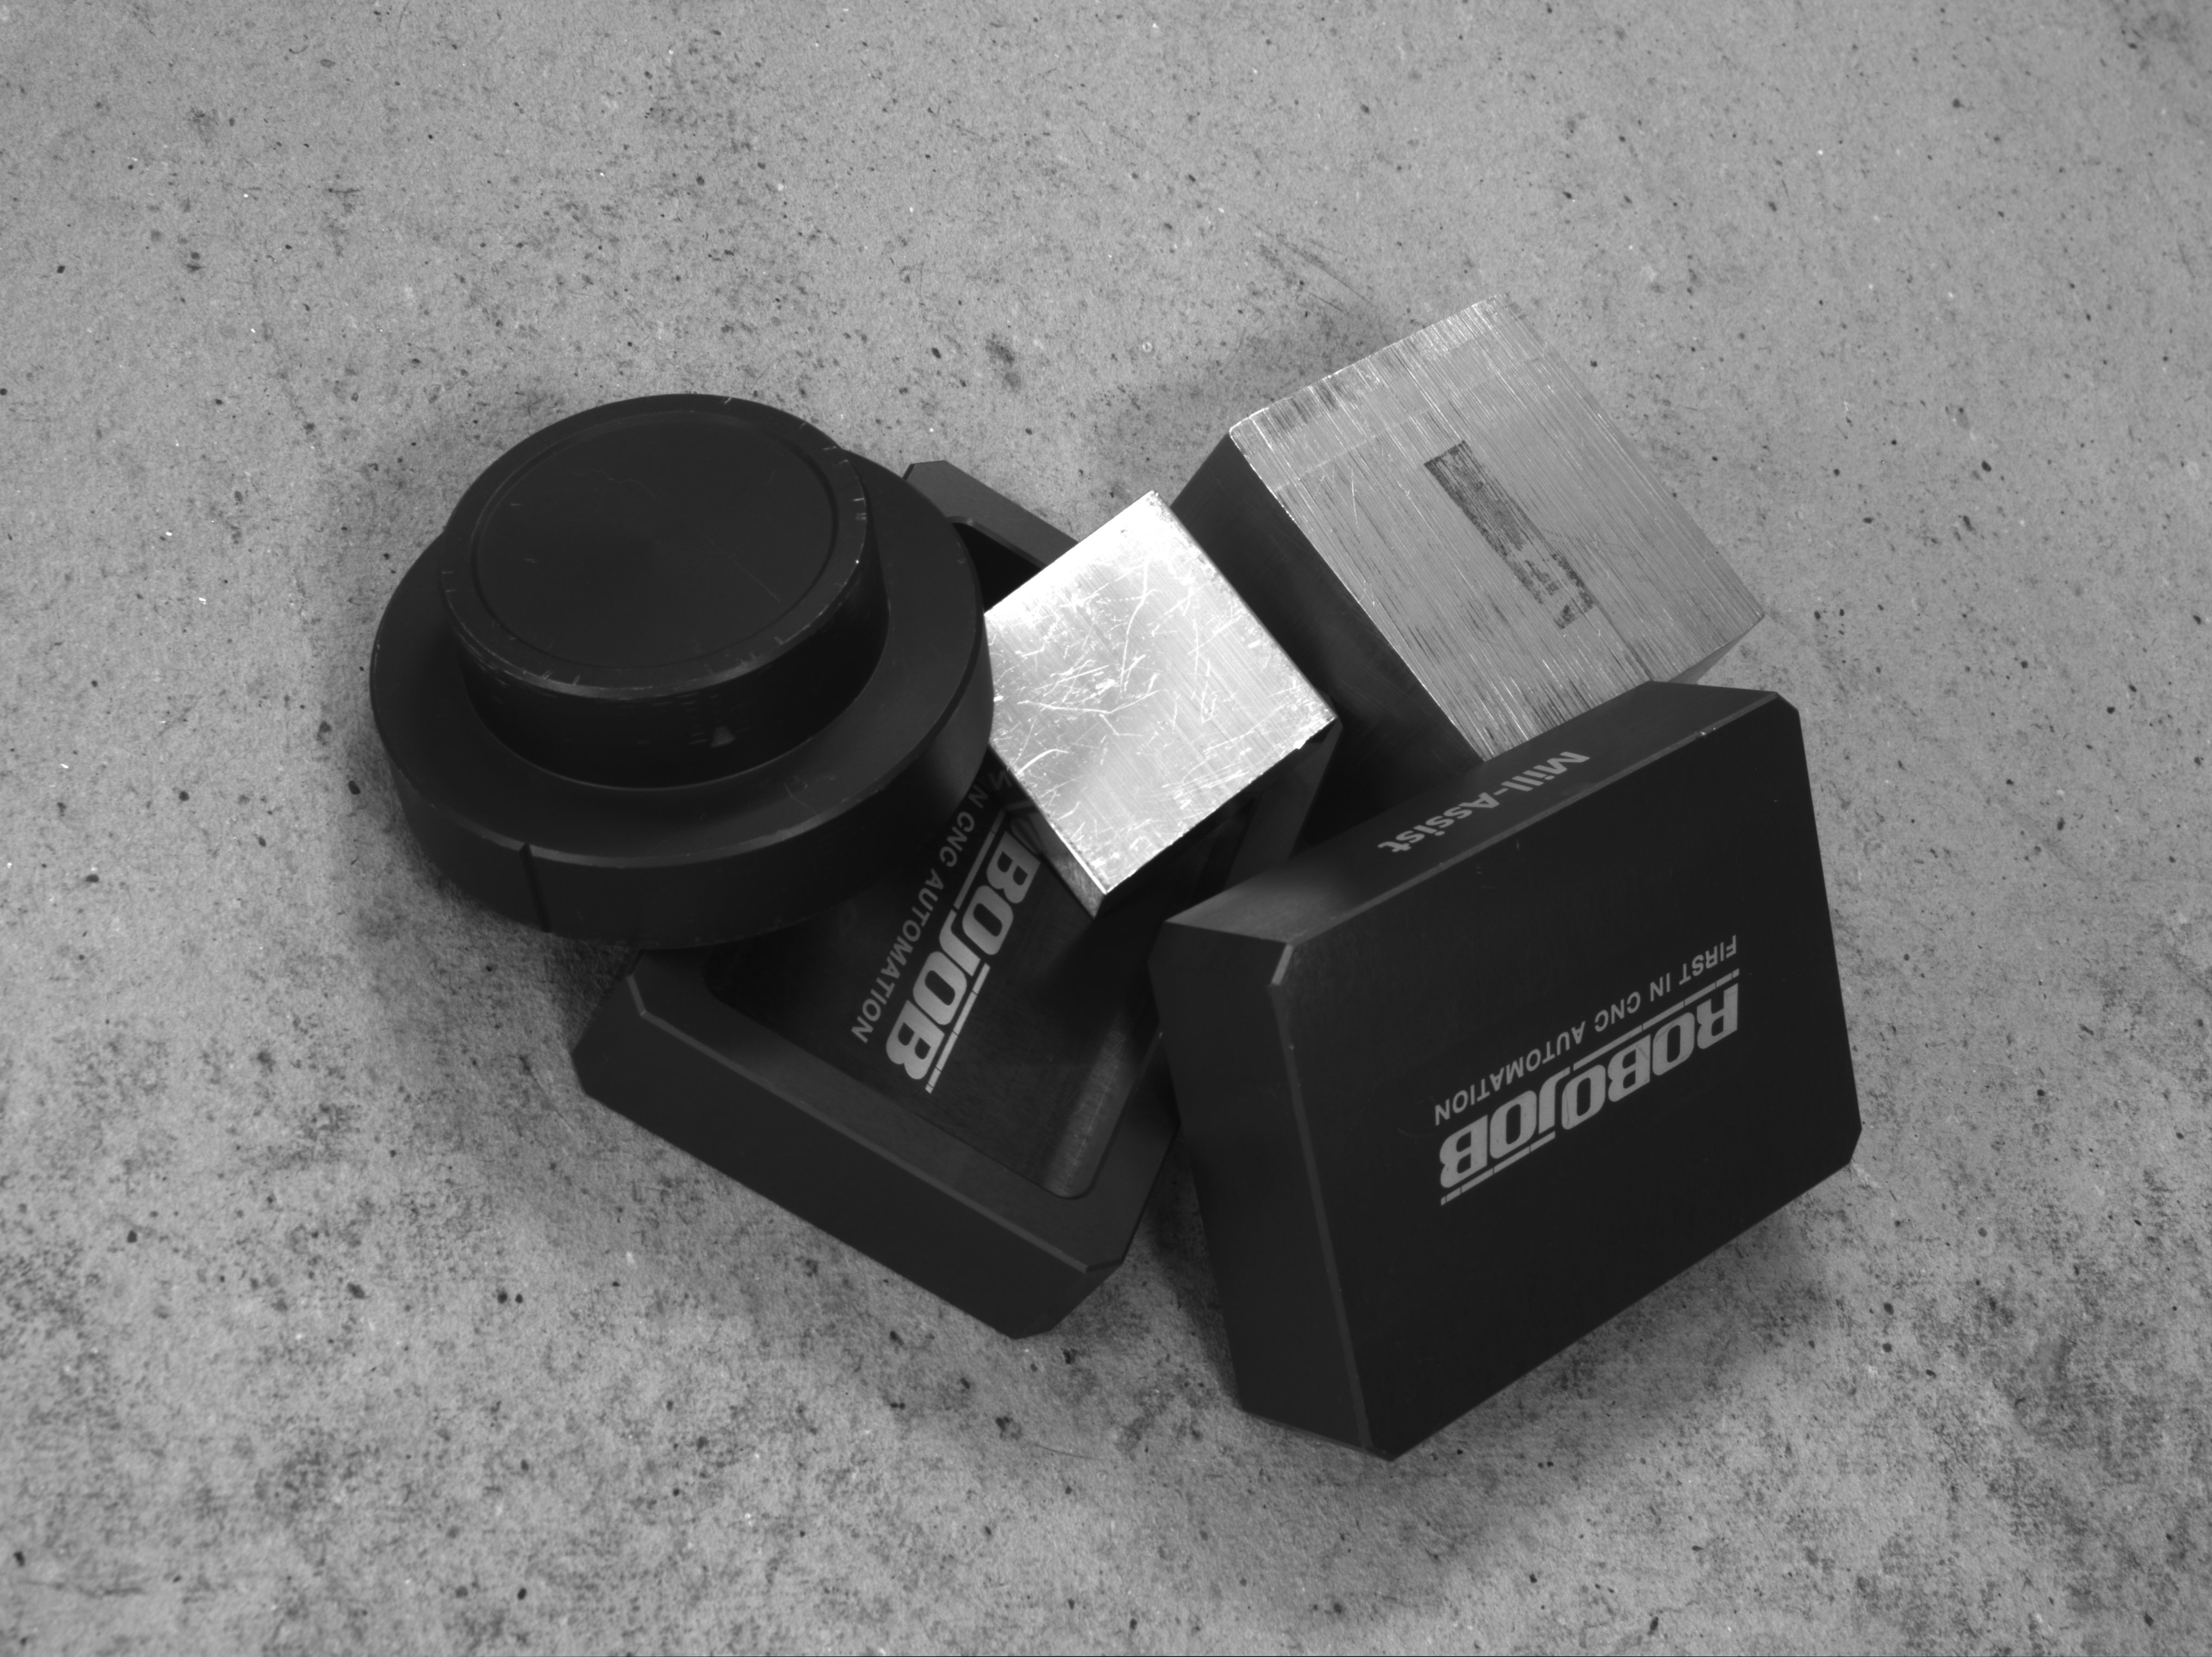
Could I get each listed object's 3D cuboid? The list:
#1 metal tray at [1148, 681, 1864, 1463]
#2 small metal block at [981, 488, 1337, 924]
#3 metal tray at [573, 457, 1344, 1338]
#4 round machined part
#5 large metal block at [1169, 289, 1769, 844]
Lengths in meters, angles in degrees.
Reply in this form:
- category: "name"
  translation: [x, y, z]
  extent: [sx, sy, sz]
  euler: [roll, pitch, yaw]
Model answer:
- category: "metal tray"
  translation: [0.071, 0.038, 0.622]
  extent: [0.130, 0.030, 0.090]
  euler: [-25, 111, -36]
- category: "small metal block"
  translation: [0.003, -0.020, 0.624]
  extent: [0.050, 0.025, 0.050]
  euler: [-38, 84, -10]
- category: "metal tray"
  translation: [-0.021, 0.009, 0.619]
  extent: [0.090, 0.030, 0.130]
  euler: [31, 52, -8]
- category: "round machined part"
  translation: [-0.069, -0.031, 0.584]
  extent: [0.098, 0.042, 0.098]
  euler: [-3, 48, 3]
- category: "large metal block"
  translation: [0.061, -0.043, 0.683]
  extent: [0.080, 0.050, 0.080]
  euler: [-30, 78, -37]
